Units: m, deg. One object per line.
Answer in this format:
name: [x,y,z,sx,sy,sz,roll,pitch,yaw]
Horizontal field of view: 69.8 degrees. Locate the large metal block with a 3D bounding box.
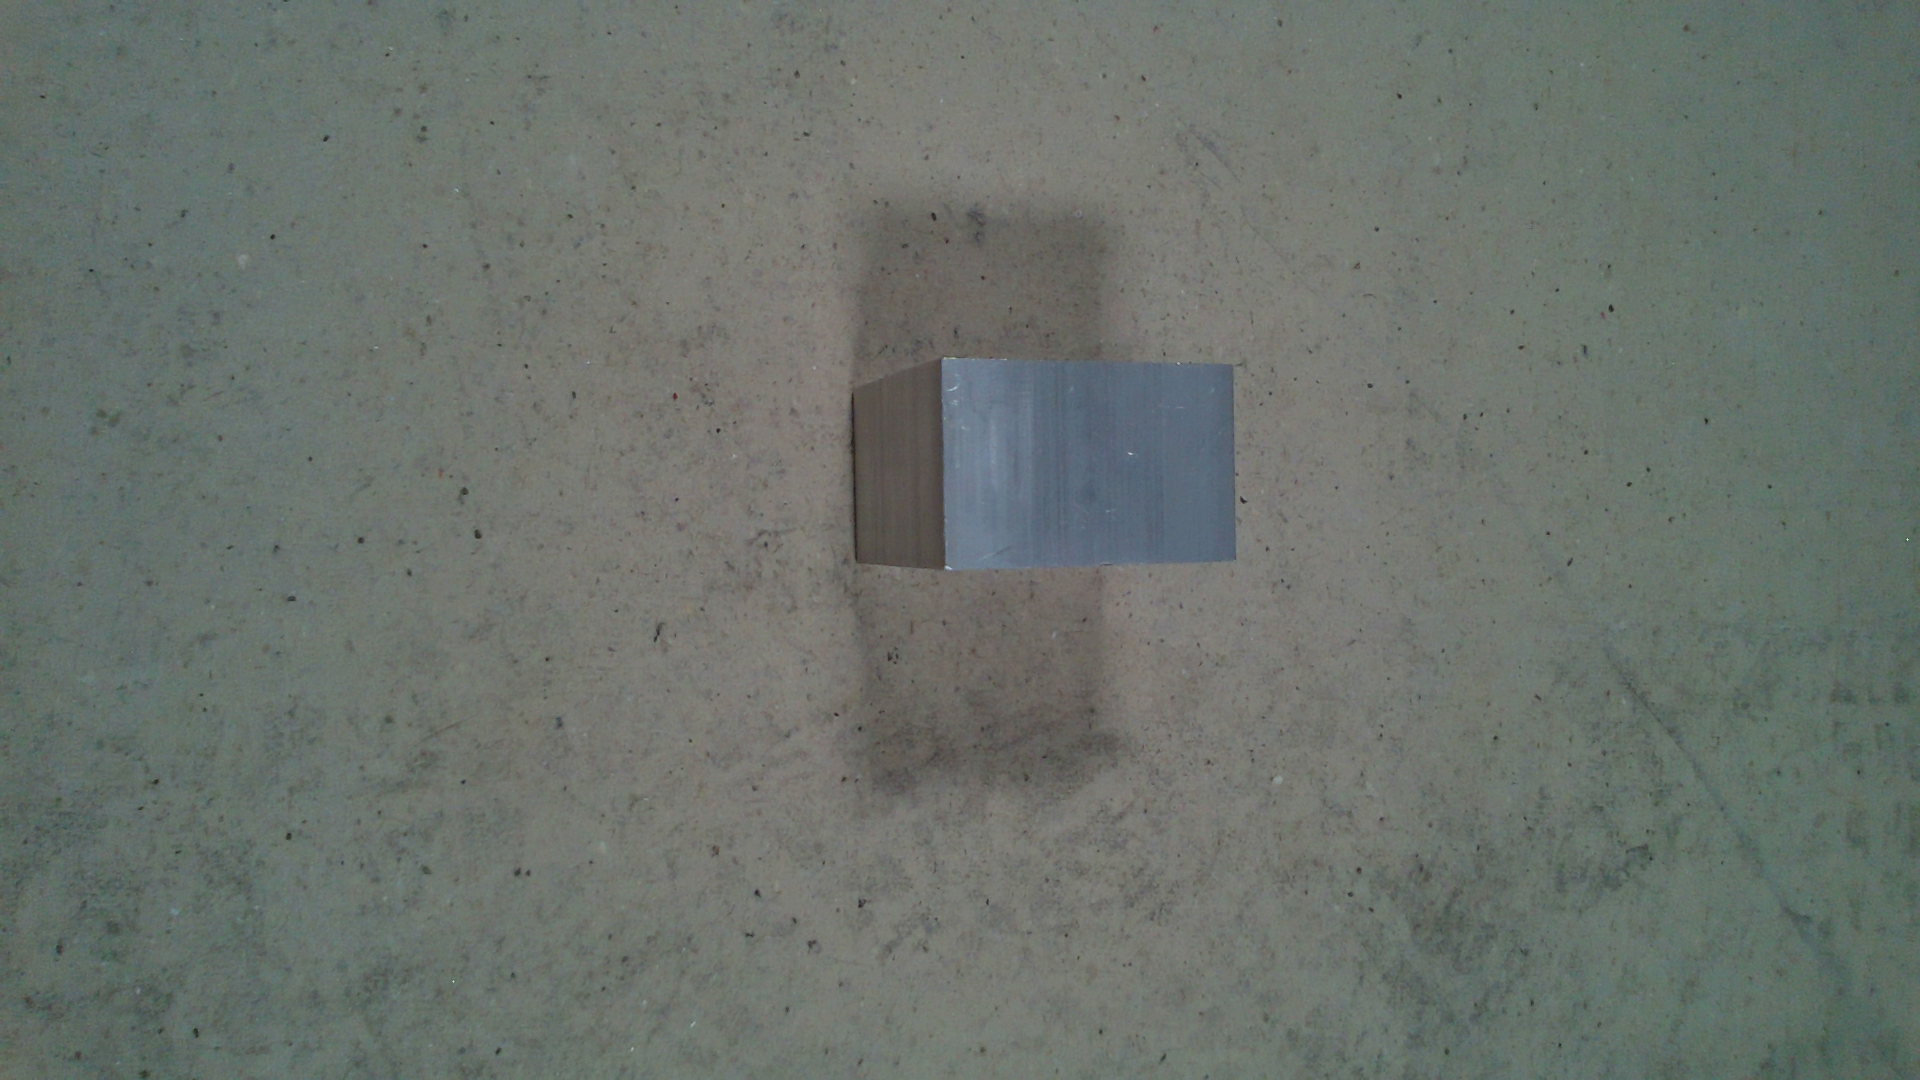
large metal block: [0.020,-0.019,0.372,0.080,0.080,0.050,-1,91,-20]
